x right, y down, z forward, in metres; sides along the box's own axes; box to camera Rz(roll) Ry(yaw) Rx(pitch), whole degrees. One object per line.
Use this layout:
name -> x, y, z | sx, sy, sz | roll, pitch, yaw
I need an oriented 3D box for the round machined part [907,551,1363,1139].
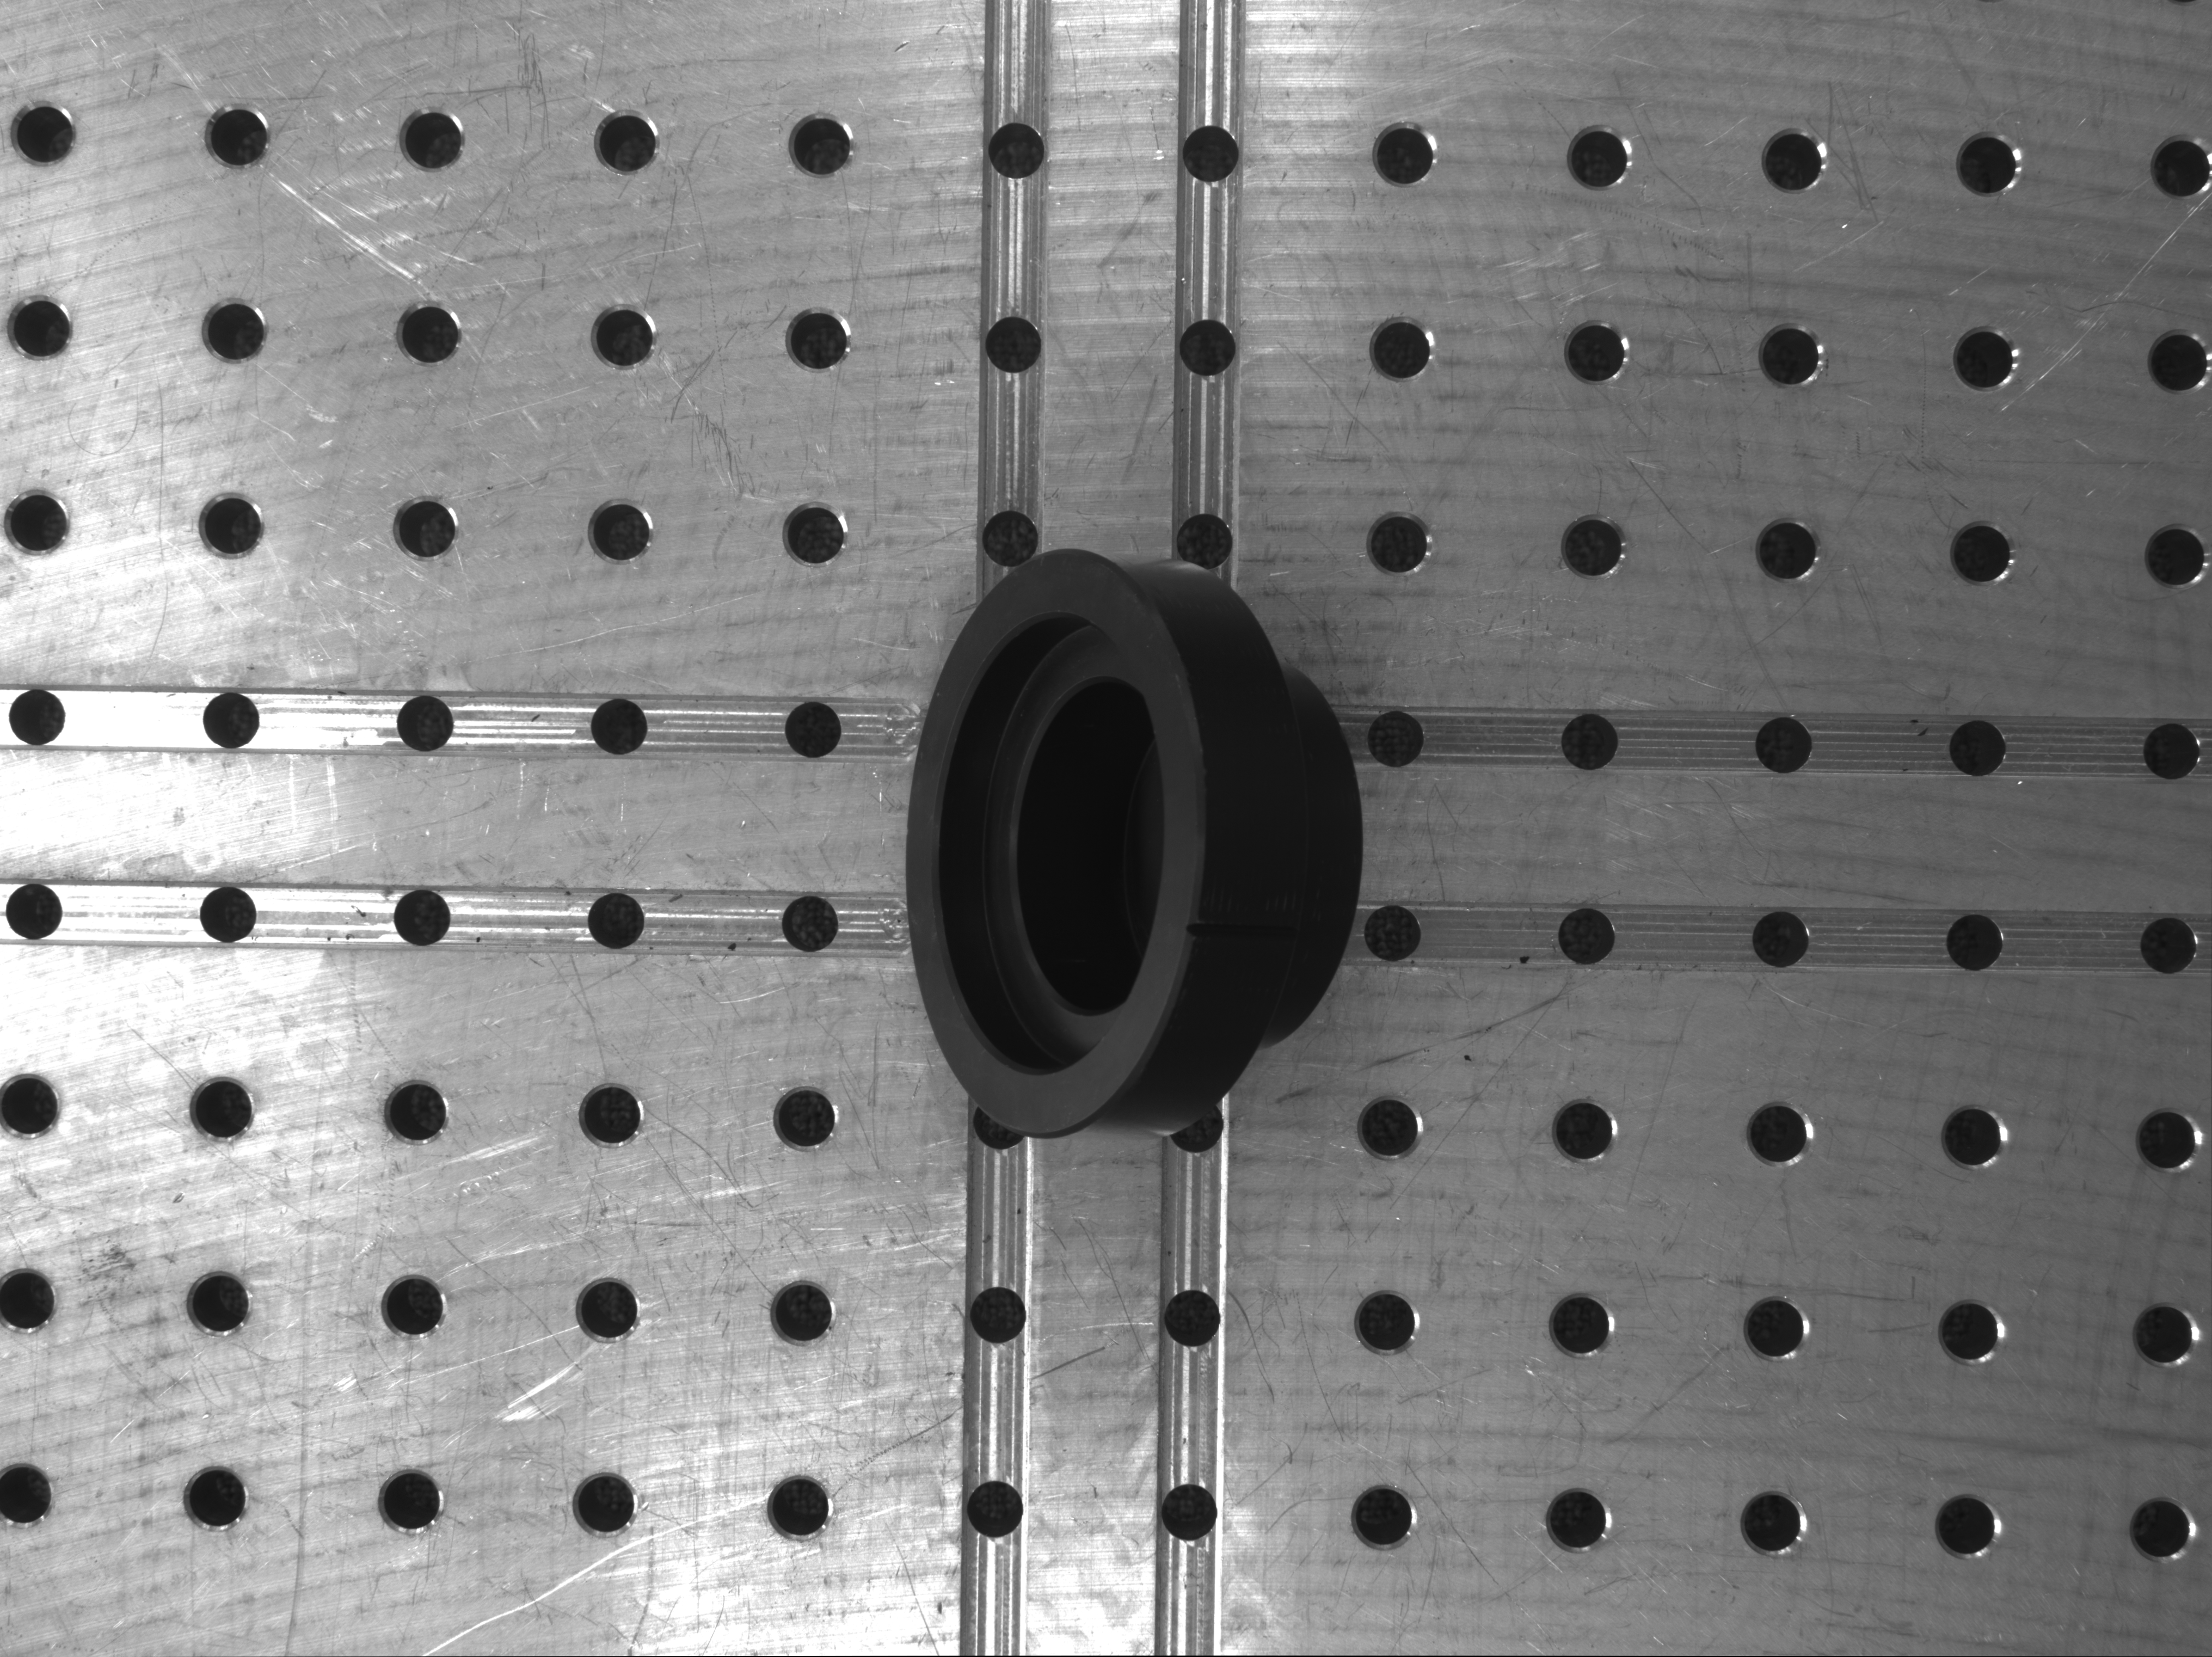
round machined part -> 0.007, 0.004, 0.621 | 0.042, 0.098, 0.098 | 3, 90, -31
